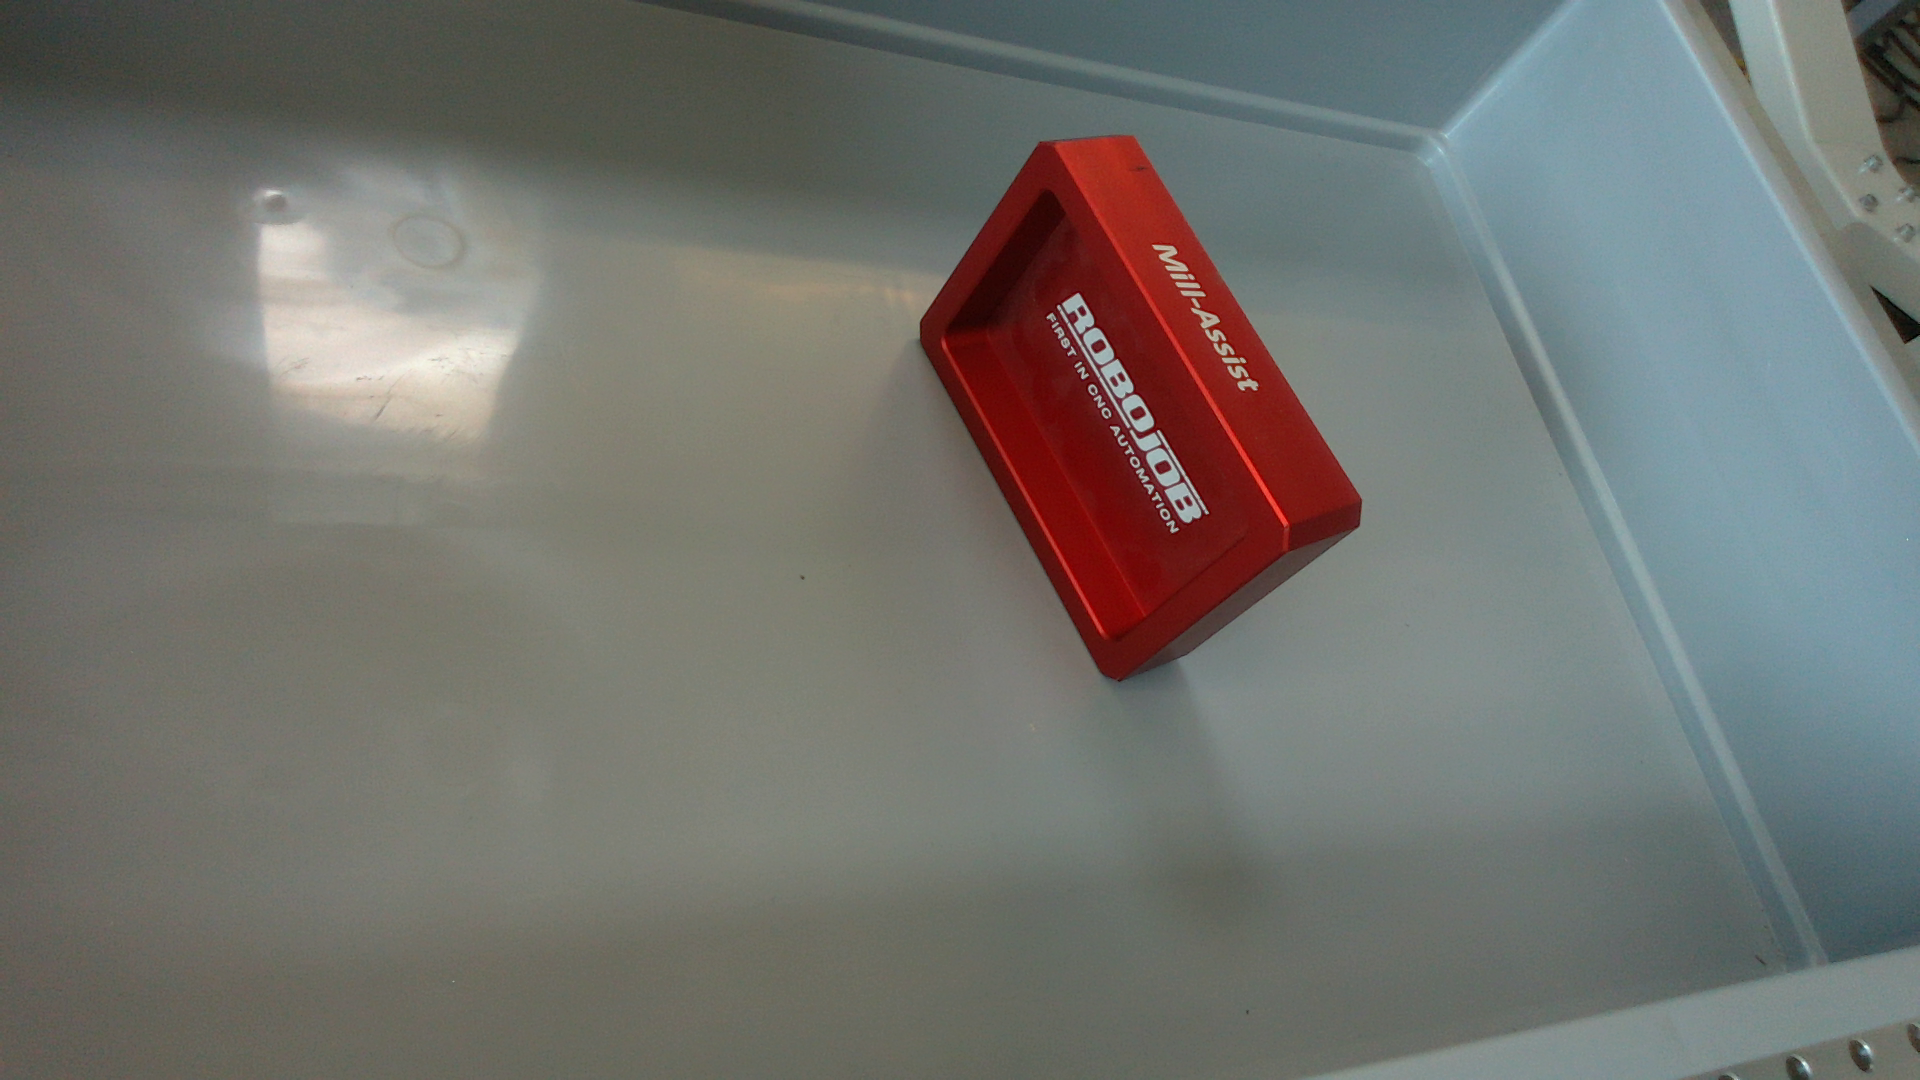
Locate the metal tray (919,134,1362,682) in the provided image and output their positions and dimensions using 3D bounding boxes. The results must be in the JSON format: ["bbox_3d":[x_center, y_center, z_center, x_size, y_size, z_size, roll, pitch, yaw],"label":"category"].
[{"bbox_3d":[0.045,-0.037,0.391,0.030,0.090,0.130,-16,70,-35],"label":"metal tray"}]
